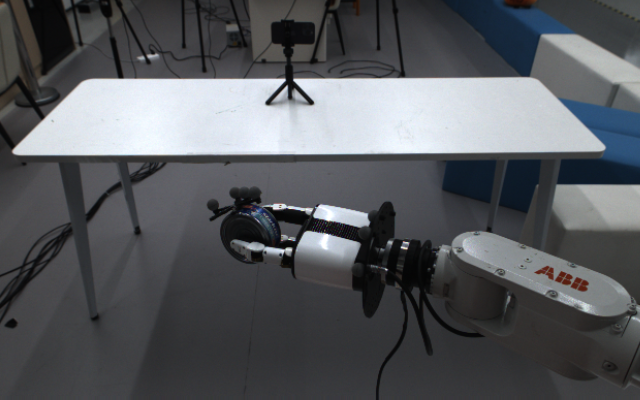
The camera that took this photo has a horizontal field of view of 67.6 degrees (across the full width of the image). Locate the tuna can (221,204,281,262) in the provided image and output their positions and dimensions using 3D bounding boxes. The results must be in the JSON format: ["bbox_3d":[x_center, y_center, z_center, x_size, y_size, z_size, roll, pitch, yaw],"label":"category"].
[{"bbox_3d":[-0.099,0.056,0.706,0.085,0.085,0.034,15,30,17],"label":"tuna can"}]
